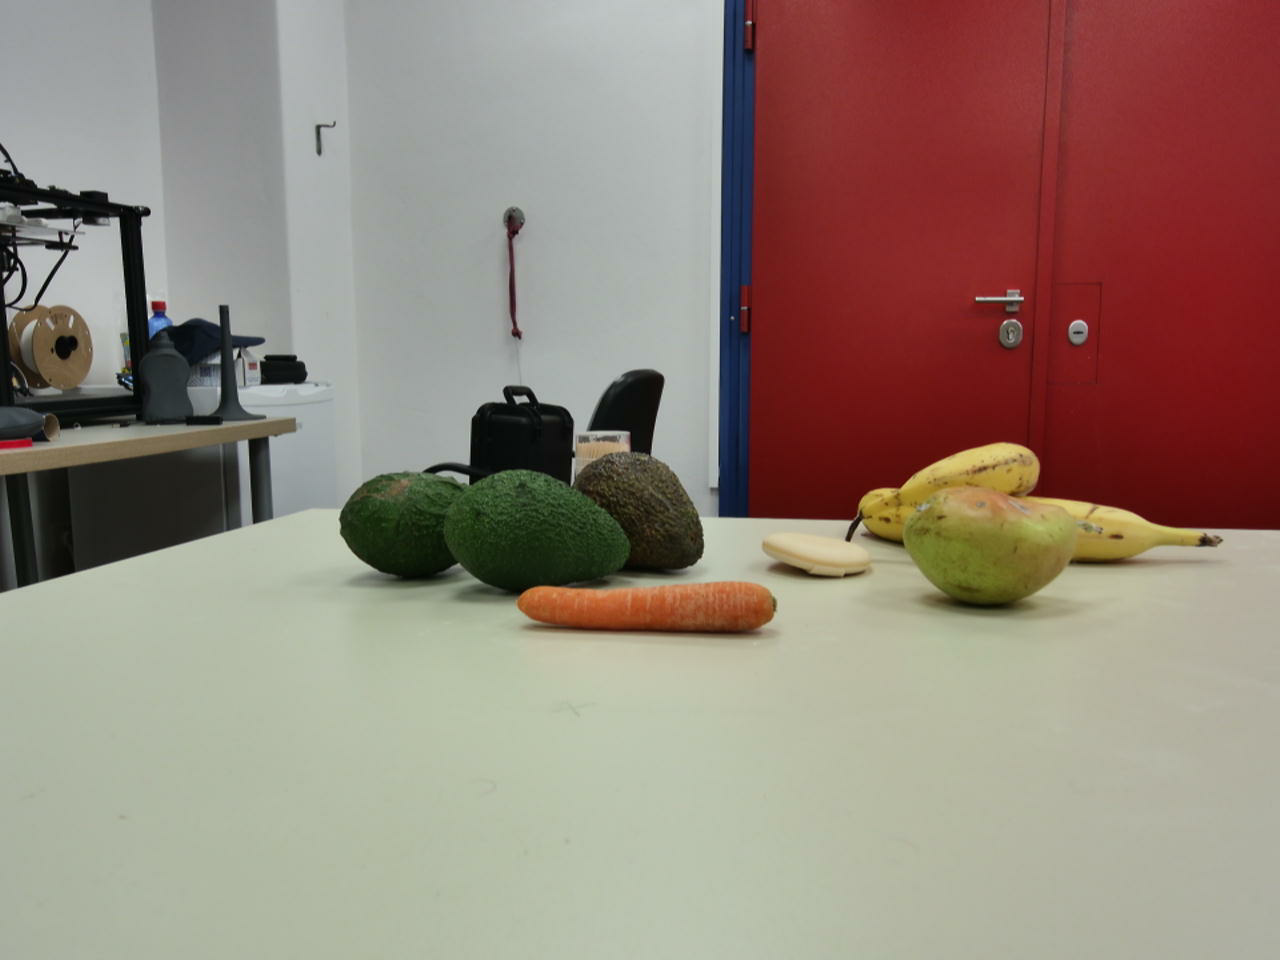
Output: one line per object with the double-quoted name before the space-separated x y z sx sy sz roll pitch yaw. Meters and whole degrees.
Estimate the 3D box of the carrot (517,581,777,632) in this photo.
"carrot" 0.002 0.059 0.469 0.122 0.023 0.024 1 4 9
